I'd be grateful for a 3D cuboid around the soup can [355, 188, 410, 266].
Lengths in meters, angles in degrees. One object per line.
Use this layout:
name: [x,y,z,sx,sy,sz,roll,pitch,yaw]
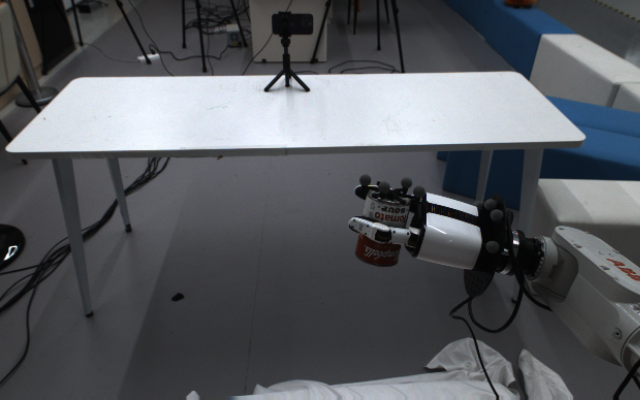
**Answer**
soup can: [0.096,0.040,0.729,0.067,0.101,0.067,9,19,-3]
